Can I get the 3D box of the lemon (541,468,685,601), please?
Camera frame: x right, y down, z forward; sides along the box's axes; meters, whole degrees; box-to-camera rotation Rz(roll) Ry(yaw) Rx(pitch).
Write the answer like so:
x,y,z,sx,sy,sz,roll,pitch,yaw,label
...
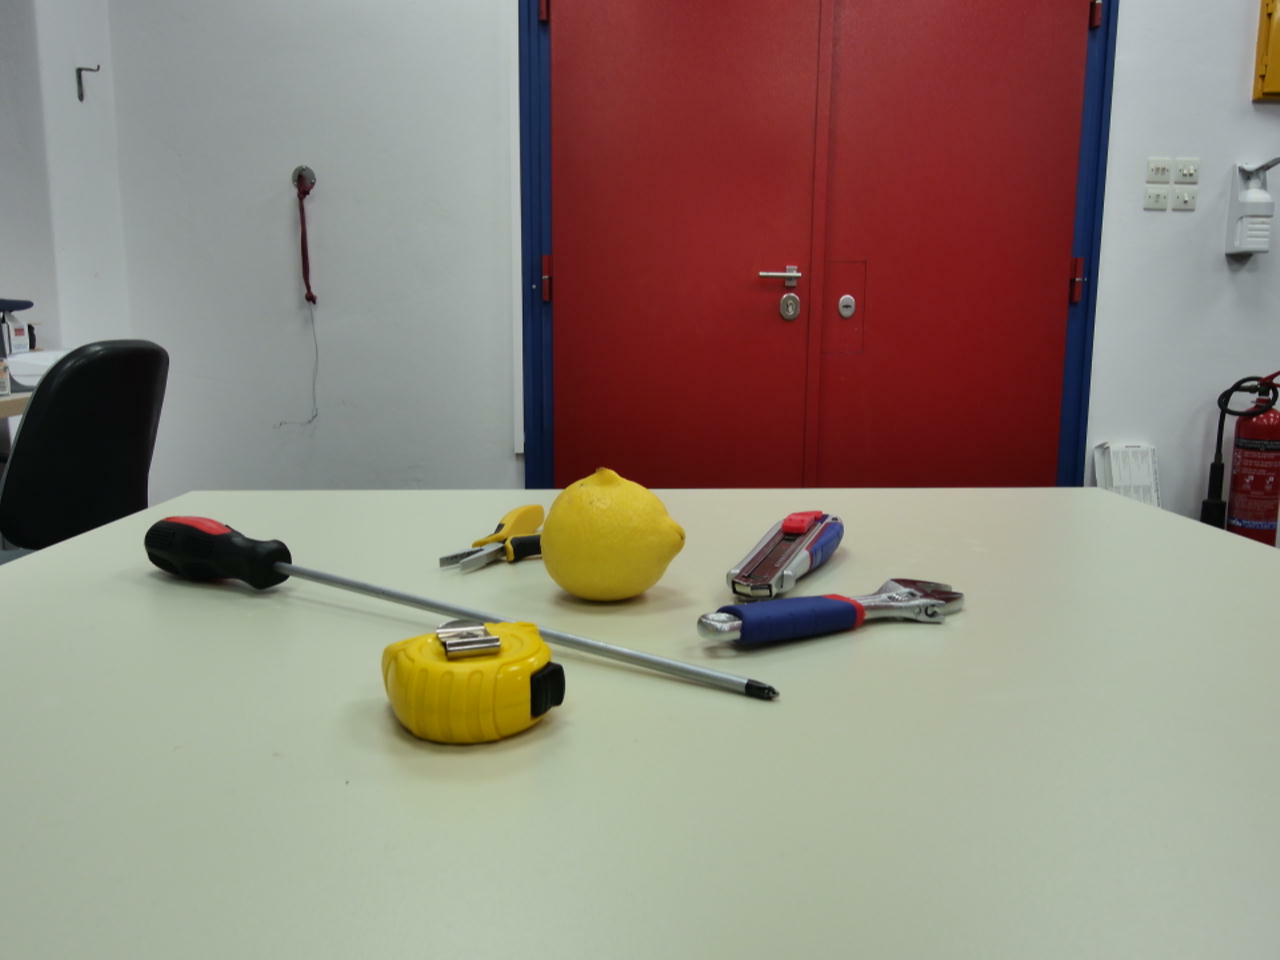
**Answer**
x,y,z,sx,sy,sz,roll,pitch,yaw,label
-0.017,0.029,0.538,0.070,0.071,0.071,-5,8,-34,lemon
